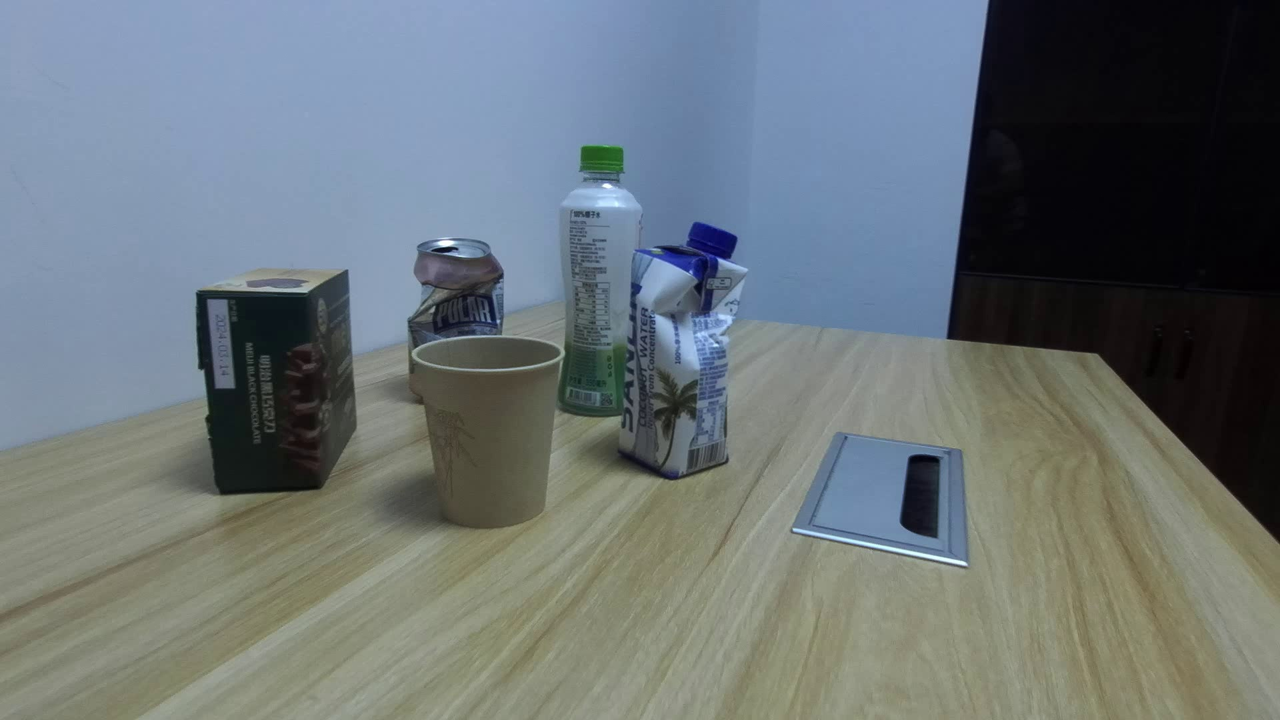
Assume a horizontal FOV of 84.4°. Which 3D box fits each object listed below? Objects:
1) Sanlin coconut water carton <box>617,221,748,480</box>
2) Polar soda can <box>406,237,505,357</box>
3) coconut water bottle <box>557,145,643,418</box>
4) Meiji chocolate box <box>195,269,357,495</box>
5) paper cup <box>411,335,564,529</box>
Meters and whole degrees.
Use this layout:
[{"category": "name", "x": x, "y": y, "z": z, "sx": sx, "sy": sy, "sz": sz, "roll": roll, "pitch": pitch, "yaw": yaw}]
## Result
[{"category": "Sanlin coconut water carton", "x": 0.026, "y": -0.008, "z": 0.418, "sx": 0.070, "sy": 0.143, "sz": 0.060, "roll": -7, "pitch": 16, "yaw": -40}, {"category": "Polar soda can", "x": -0.143, "y": -0.028, "z": 0.543, "sx": 0.066, "sy": 0.121, "sz": 0.071, "roll": 7, "pitch": 13, "yaw": 9}, {"category": "coconut water bottle", "x": -0.029, "y": -0.057, "z": 0.518, "sx": 0.063, "sy": 0.188, "sz": 0.063, "roll": 2, "pitch": 11, "yaw": 0}, {"category": "Meiji chocolate box", "x": -0.204, "y": 0.006, "z": 0.410, "sx": 0.056, "sy": 0.109, "sz": 0.109, "roll": -1, "pitch": 13, "yaw": -12}, {"category": "paper cup", "x": -0.075, "y": 0.036, "z": 0.357, "sx": 0.075, "sy": 0.082, "sz": 0.075, "roll": 2, "pitch": 14, "yaw": 0}]
